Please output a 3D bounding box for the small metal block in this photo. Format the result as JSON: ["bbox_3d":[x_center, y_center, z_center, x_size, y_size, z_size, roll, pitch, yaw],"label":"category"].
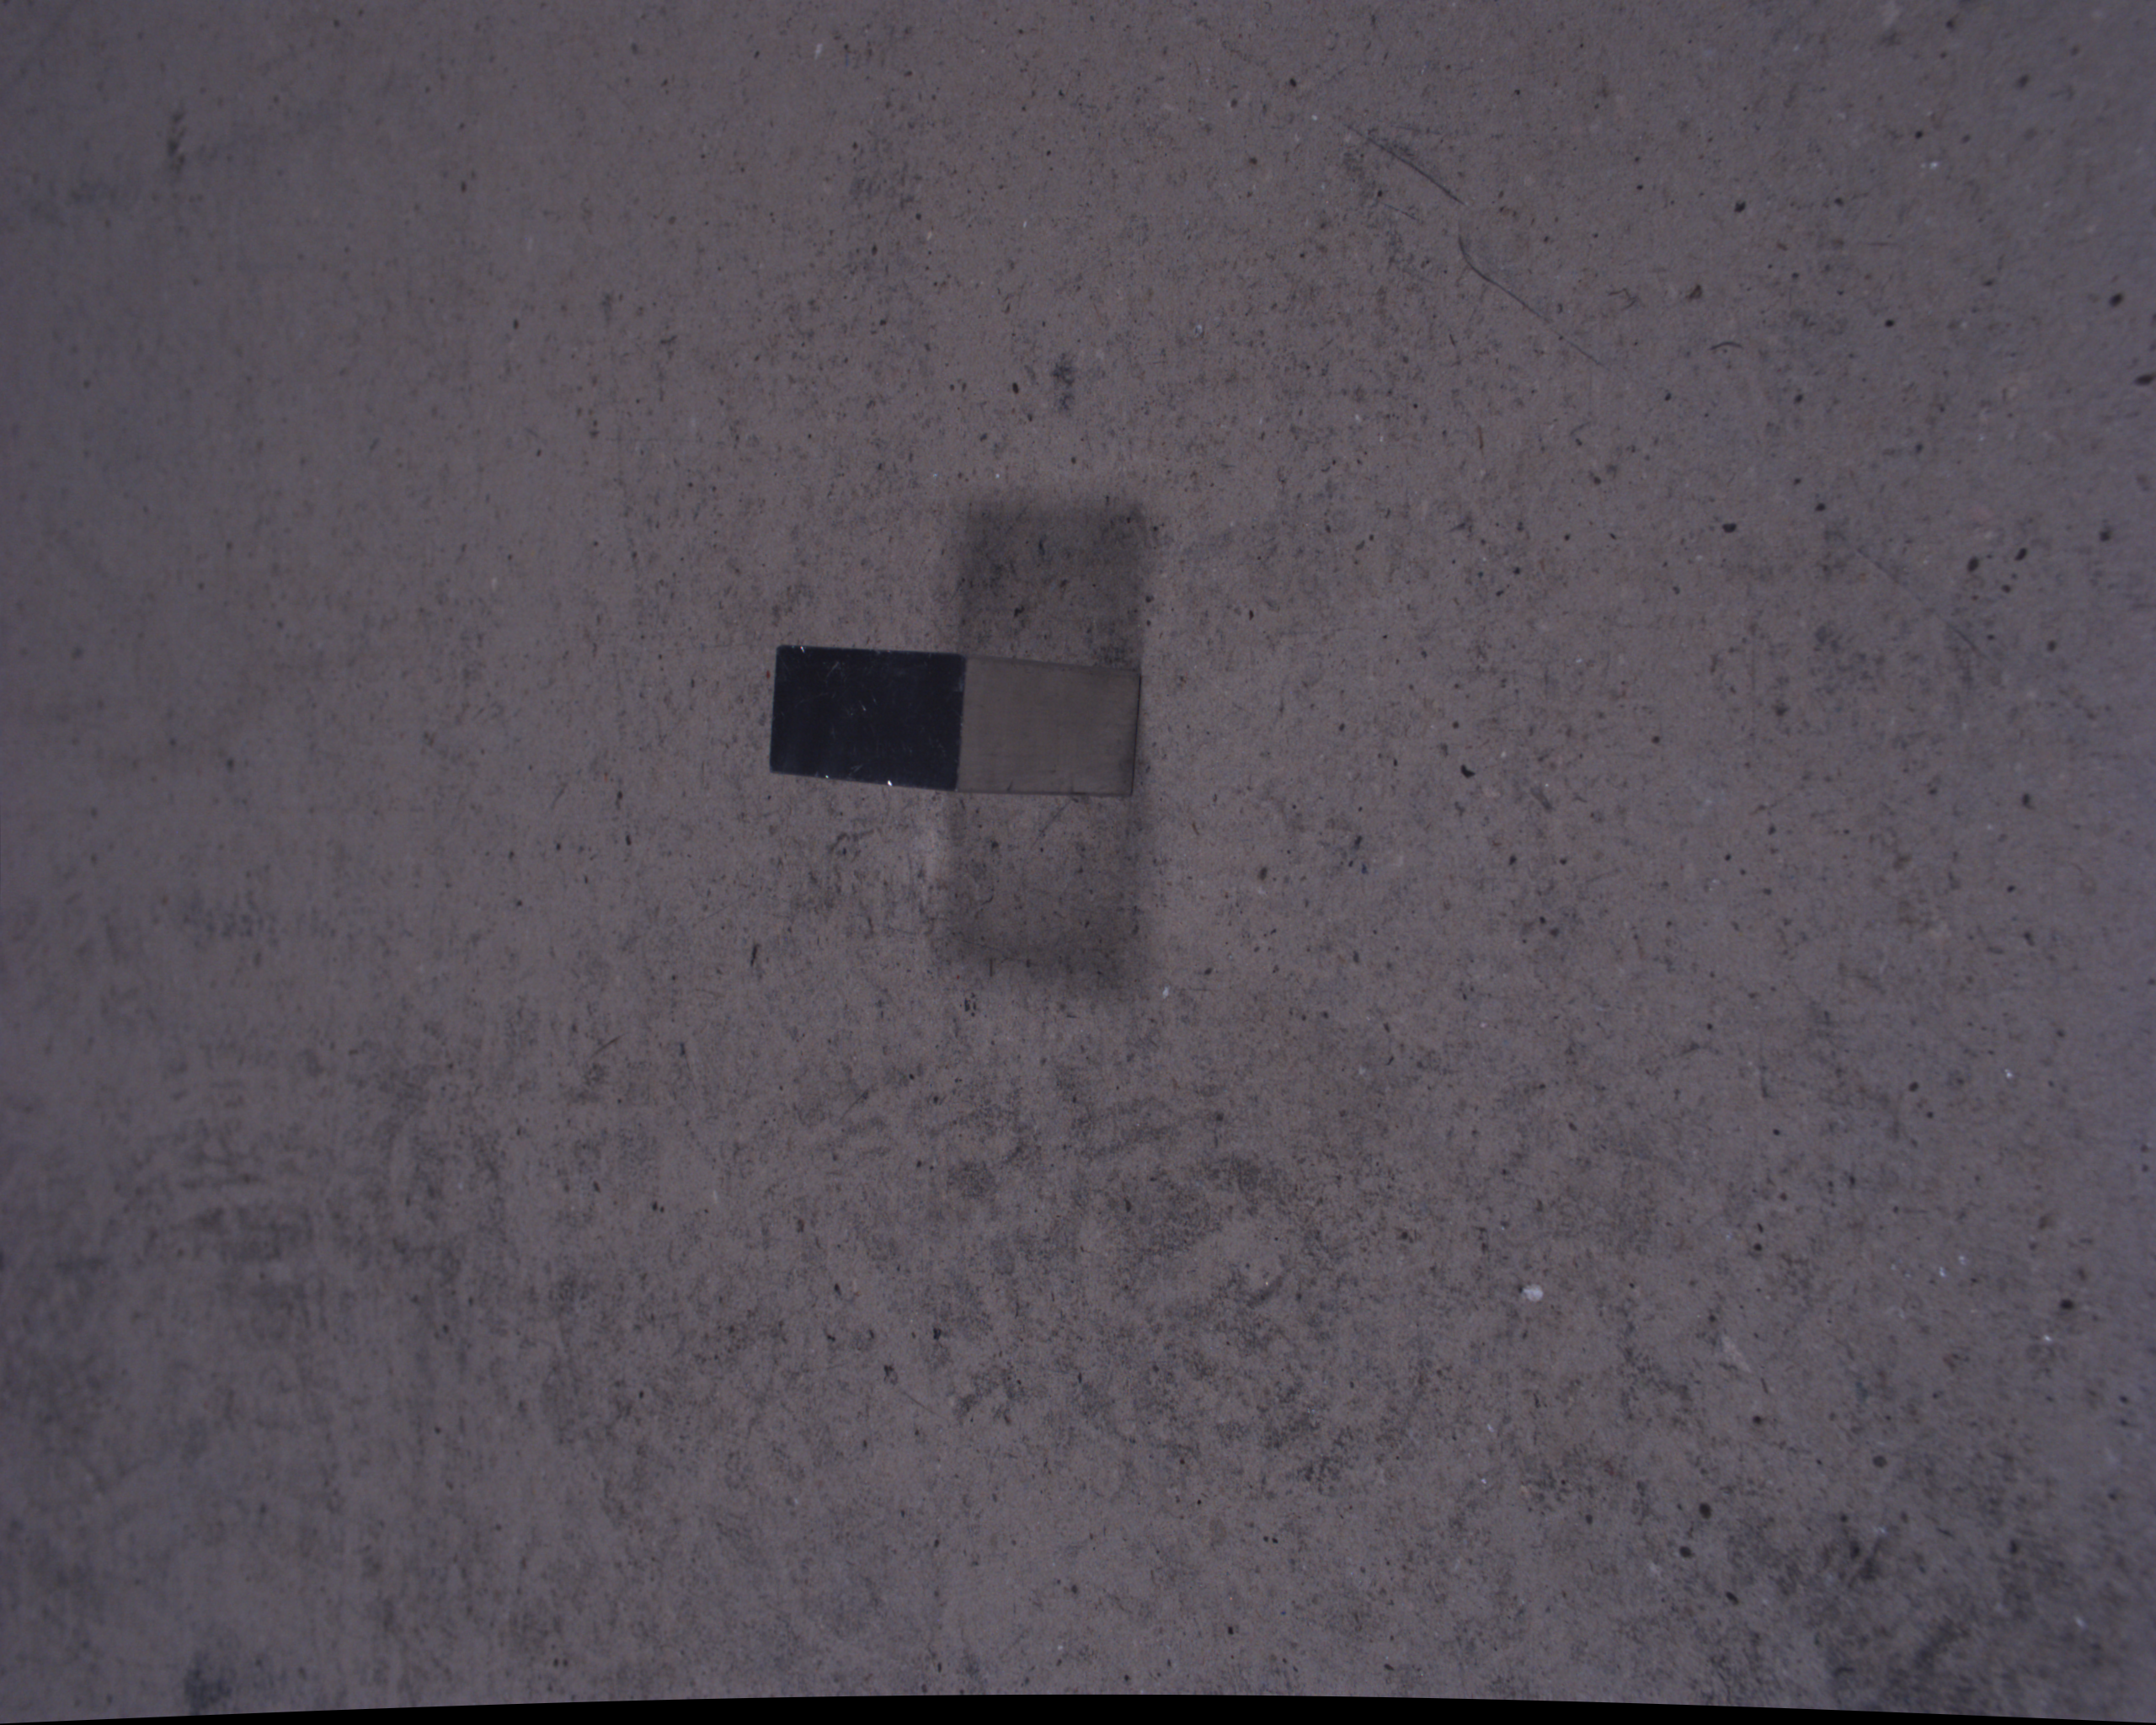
[{"bbox_3d":[-0.024,-0.027,0.407,0.050,0.050,0.025,7,95,39],"label":"small metal block"}]
